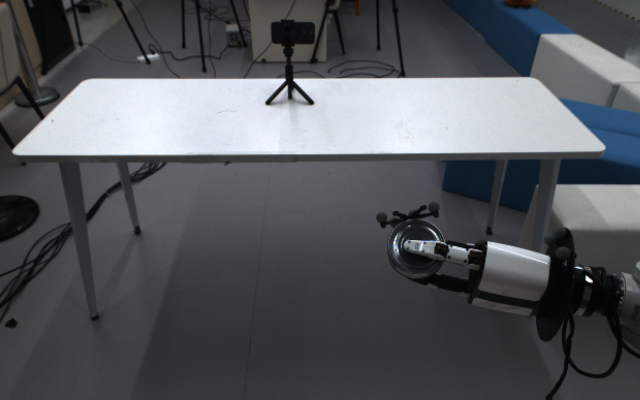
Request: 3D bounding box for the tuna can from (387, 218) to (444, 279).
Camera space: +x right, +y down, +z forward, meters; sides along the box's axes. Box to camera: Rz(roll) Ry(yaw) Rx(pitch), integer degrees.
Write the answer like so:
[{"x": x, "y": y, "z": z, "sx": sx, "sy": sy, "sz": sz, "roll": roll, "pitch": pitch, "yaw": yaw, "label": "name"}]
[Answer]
[{"x": 0.145, "y": 0.069, "z": 0.713, "sx": 0.085, "sy": 0.034, "sz": 0.085, "roll": -4, "pitch": 68, "yaw": 9, "label": "tuna can"}]
